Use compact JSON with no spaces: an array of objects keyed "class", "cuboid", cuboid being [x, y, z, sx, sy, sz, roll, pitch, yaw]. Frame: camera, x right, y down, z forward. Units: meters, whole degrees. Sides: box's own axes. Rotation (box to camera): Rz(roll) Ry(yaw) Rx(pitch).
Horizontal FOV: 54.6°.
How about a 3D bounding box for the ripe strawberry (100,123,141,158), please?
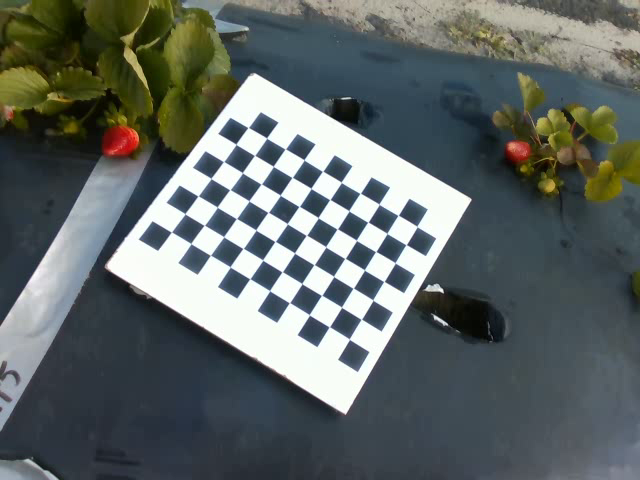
[{"class":"ripe strawberry","cuboid":[-0.202,-0.097,0.614,0.050,0.055,0.036,27,-36,-3]}]
